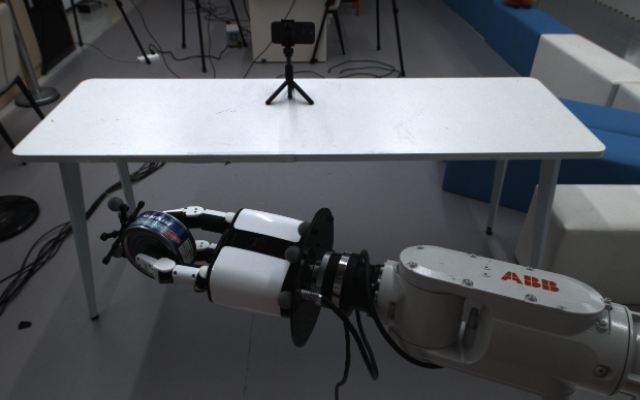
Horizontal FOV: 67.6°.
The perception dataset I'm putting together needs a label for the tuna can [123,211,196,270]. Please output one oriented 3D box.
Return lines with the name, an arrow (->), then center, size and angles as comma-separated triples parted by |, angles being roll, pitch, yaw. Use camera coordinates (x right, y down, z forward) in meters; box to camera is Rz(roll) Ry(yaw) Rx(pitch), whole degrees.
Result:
tuna can -> -0.195, 0.055, 0.589 | 0.085, 0.085, 0.034 | 11, 35, 13
